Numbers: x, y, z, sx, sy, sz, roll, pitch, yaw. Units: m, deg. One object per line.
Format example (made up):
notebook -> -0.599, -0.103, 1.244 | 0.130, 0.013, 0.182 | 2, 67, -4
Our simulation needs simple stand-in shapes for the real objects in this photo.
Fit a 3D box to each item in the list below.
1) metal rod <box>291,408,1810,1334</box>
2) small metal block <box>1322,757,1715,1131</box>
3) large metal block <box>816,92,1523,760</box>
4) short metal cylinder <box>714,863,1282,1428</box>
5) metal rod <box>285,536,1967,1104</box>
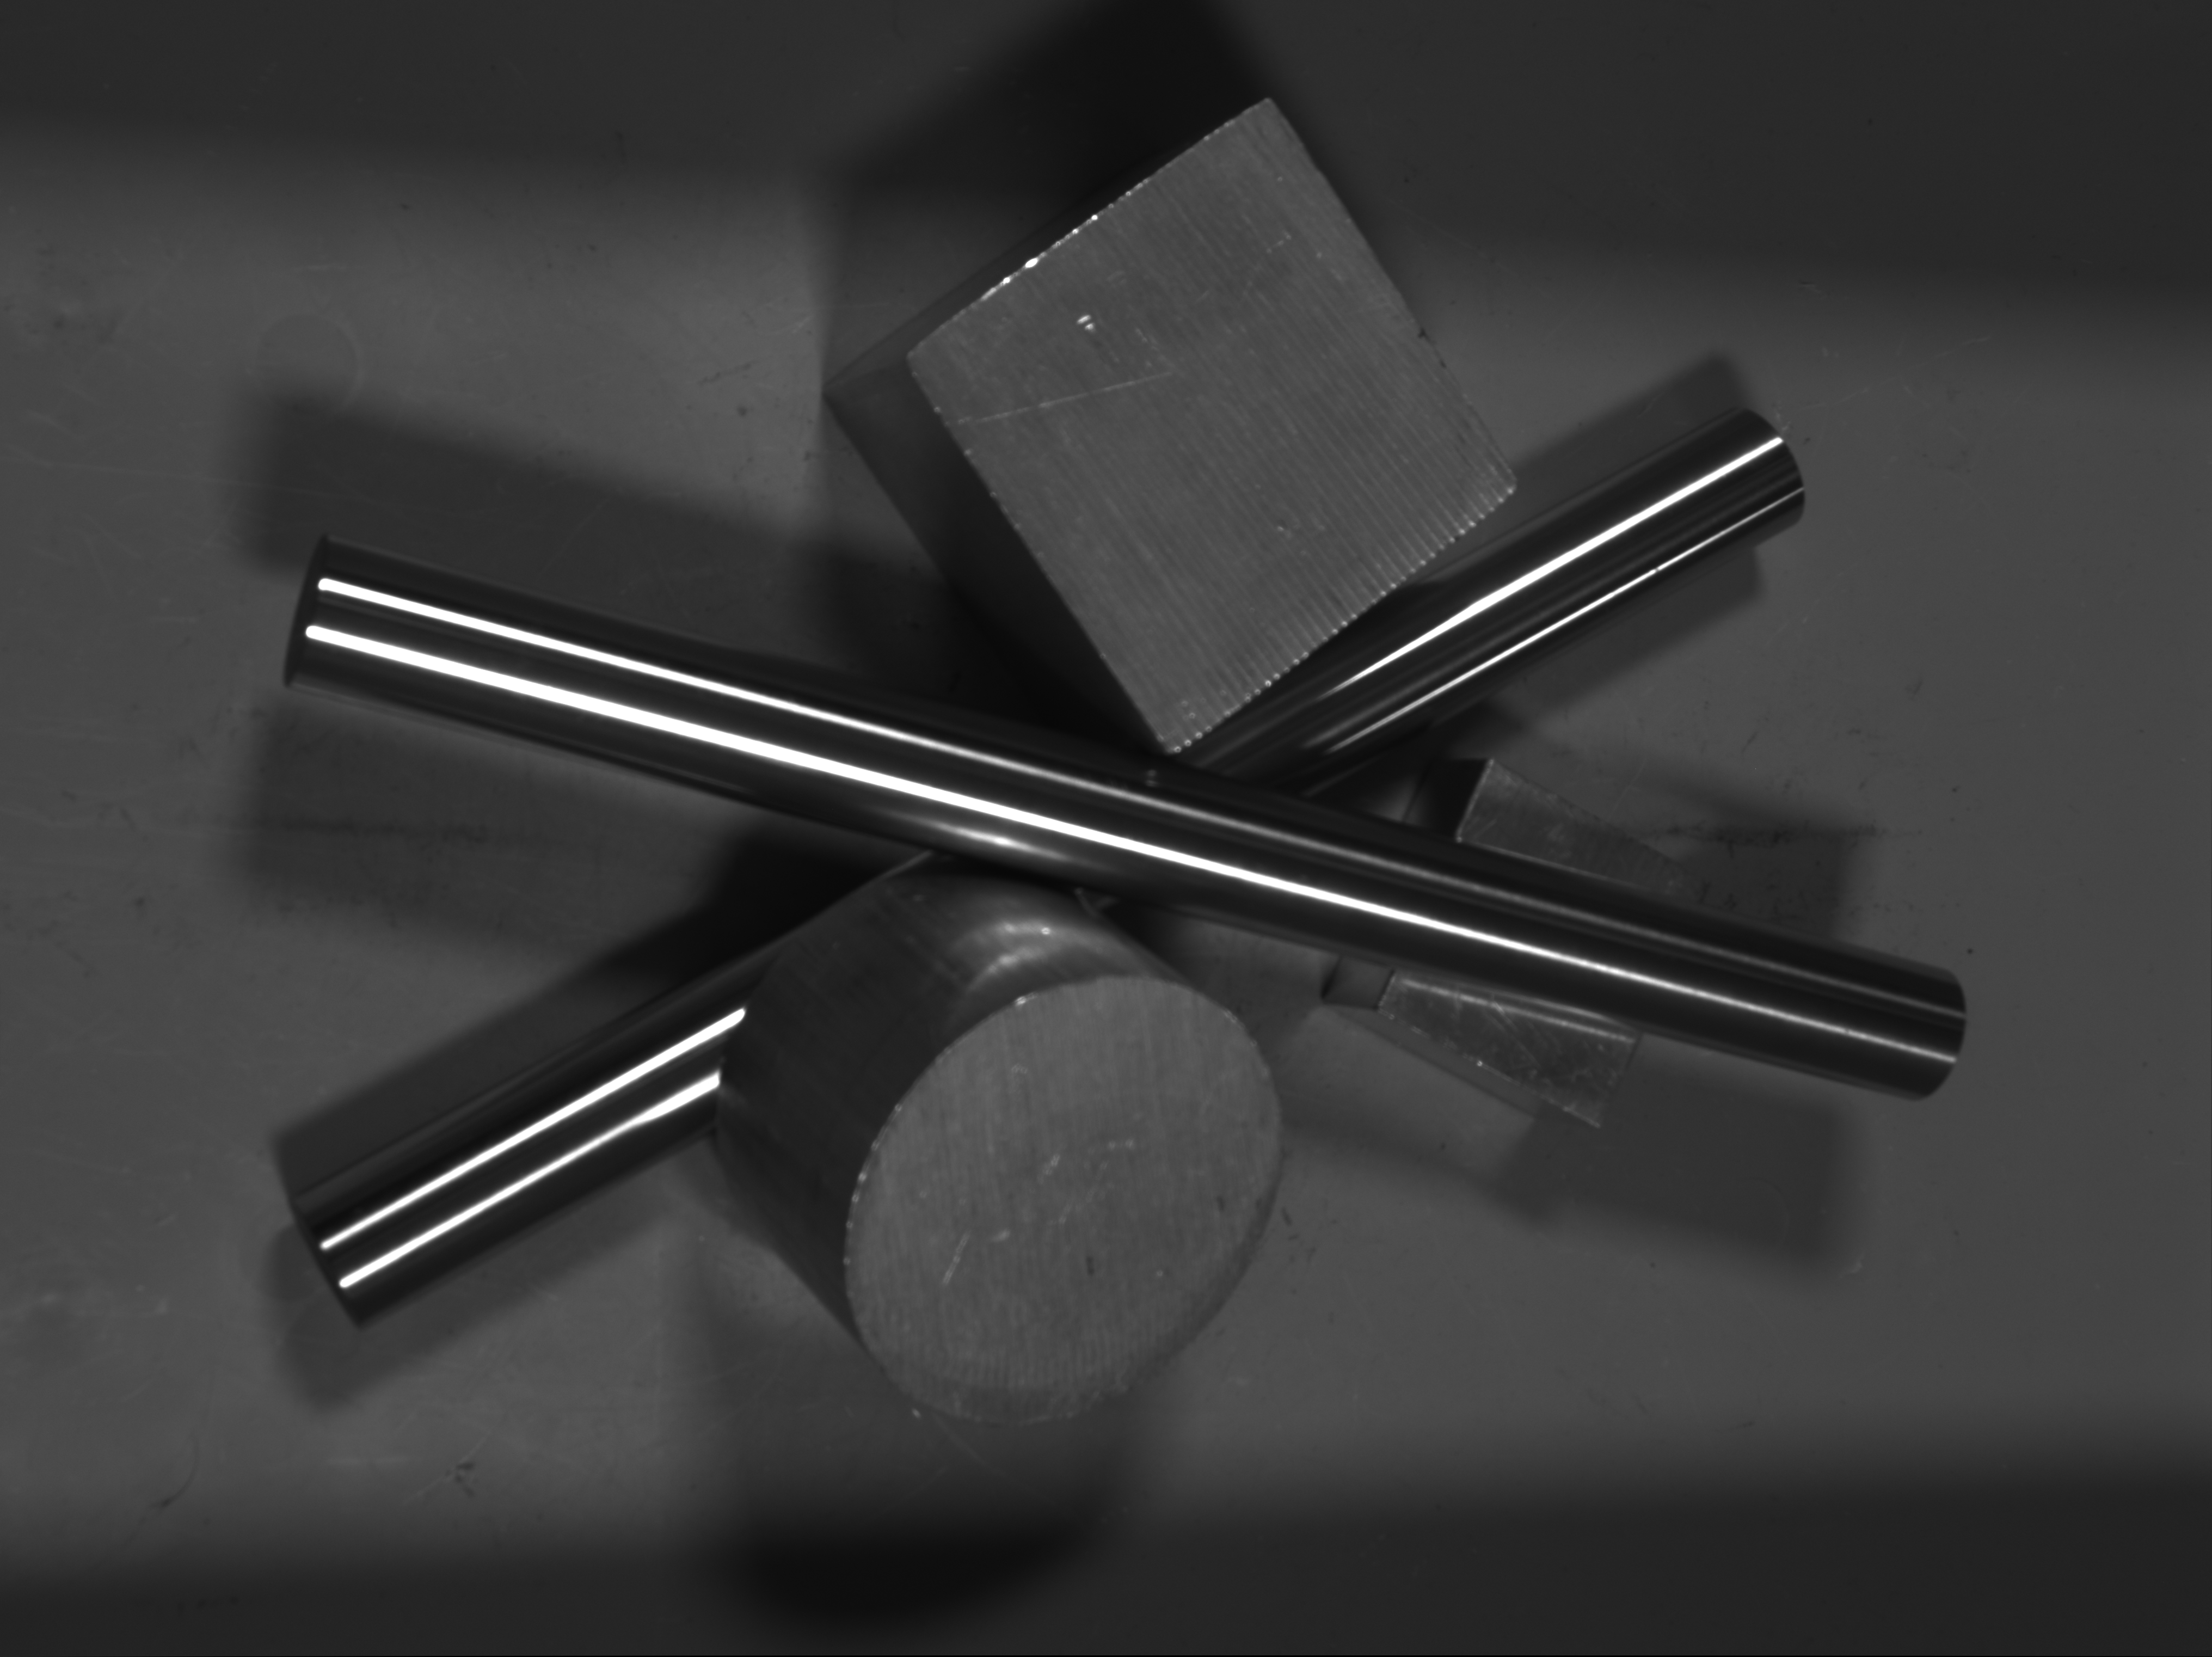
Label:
metal rod -> -0.001, 0.002, 0.641 | 0.300, 0.025, 0.025 | -29, 99, -18
small metal block -> 0.075, 0.021, 0.668 | 0.050, 0.025, 0.050 | 28, 81, -18
large metal block -> 0.011, -0.067, 0.632 | 0.080, 0.050, 0.080 | -37, 102, -16
short metal cylinder -> -0.018, 0.052, 0.607 | 0.080, 0.050, 0.080 | -13, 118, -27
metal rod -> 0.013, 0.002, 0.620 | 0.301, 0.025, 0.025 | 15, 85, -19
